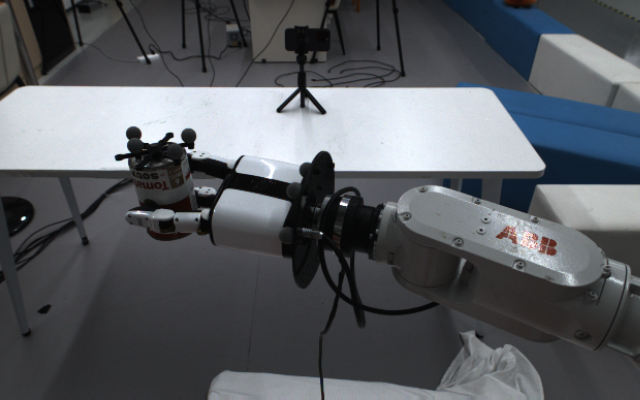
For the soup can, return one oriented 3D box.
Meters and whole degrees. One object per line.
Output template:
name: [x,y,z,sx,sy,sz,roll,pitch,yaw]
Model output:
soup can: [-0.185,-0.010,0.589,0.067,0.101,0.067,-2,33,1]
